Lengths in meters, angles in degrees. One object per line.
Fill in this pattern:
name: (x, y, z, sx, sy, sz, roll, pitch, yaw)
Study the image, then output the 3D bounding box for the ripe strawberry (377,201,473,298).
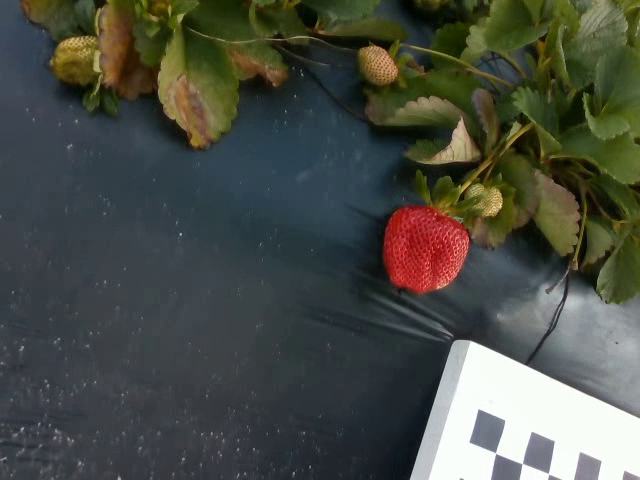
ripe strawberry: (0.073, 0.006, 0.396, 0.067, 0.075, 0.039, 28, -18, -11)
